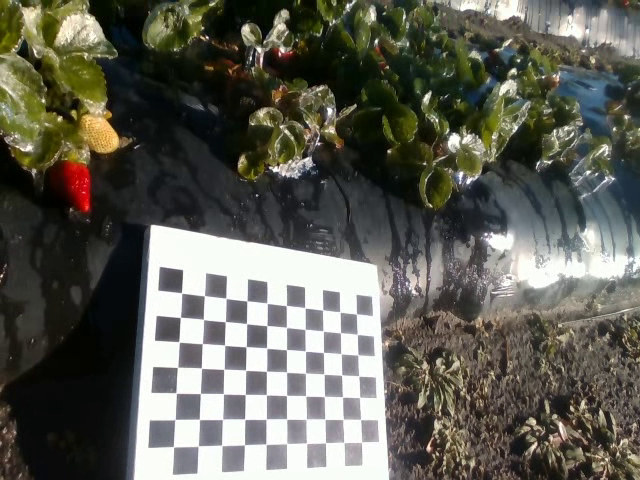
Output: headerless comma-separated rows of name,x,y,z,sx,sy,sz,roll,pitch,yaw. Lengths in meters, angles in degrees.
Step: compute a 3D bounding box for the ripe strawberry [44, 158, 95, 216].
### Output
ripe strawberry,-0.219,-0.051,0.563,0.041,0.052,0.040,-9,-17,-39
